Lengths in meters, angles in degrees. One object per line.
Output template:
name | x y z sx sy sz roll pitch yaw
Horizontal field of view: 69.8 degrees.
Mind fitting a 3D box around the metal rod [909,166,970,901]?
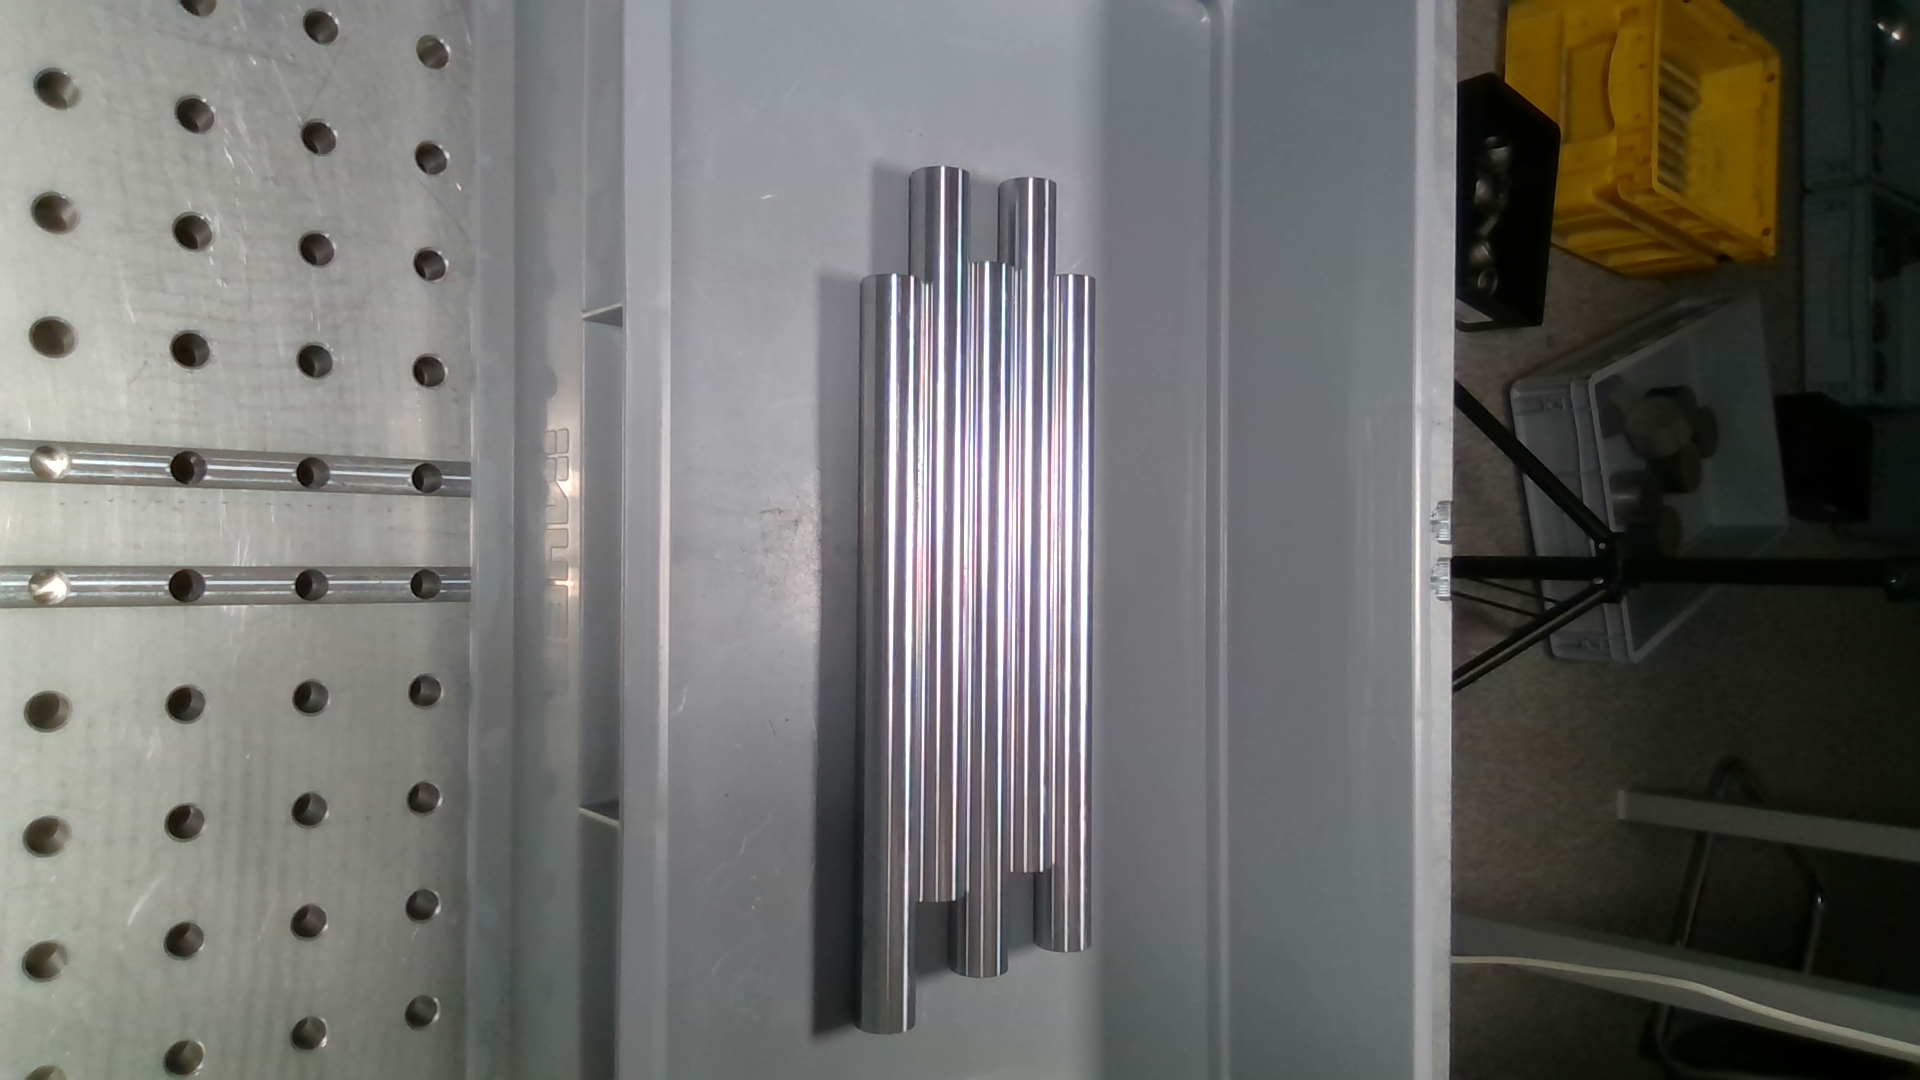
metal rod | -0.010 -0.003 0.574 0.025 0.025 0.300 1 90 -40

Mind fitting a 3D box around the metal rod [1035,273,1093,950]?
metal rod | 0.047 0.032 0.622 0.025 0.025 0.300 1 90 -40

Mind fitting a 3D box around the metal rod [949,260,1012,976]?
metal rod | 0.009 0.033 0.590 0.025 0.025 0.300 1 90 -40

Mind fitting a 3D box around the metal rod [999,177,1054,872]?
metal rod | 0.028 -0.007 0.606 0.025 0.025 0.300 1 90 -40

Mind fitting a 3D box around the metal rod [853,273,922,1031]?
metal rod | -0.029 0.044 0.557 0.025 0.025 0.300 1 90 -40
